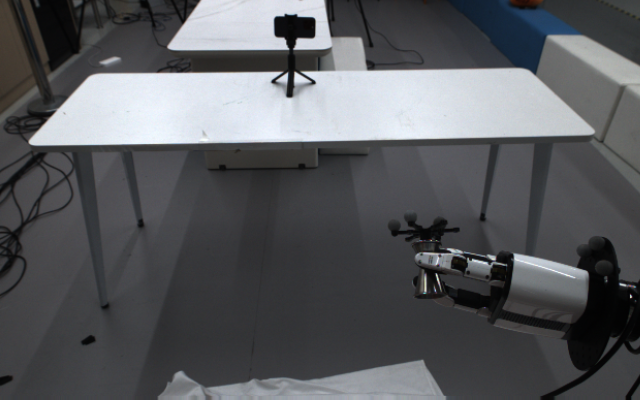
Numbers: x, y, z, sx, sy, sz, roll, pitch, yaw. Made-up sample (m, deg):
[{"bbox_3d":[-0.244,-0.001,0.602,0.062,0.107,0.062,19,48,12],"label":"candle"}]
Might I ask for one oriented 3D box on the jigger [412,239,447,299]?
[{"bbox_3d":[0.139,0.087,0.617,0.043,0.043,0.071,1,70,-2],"label":"jigger"}]
